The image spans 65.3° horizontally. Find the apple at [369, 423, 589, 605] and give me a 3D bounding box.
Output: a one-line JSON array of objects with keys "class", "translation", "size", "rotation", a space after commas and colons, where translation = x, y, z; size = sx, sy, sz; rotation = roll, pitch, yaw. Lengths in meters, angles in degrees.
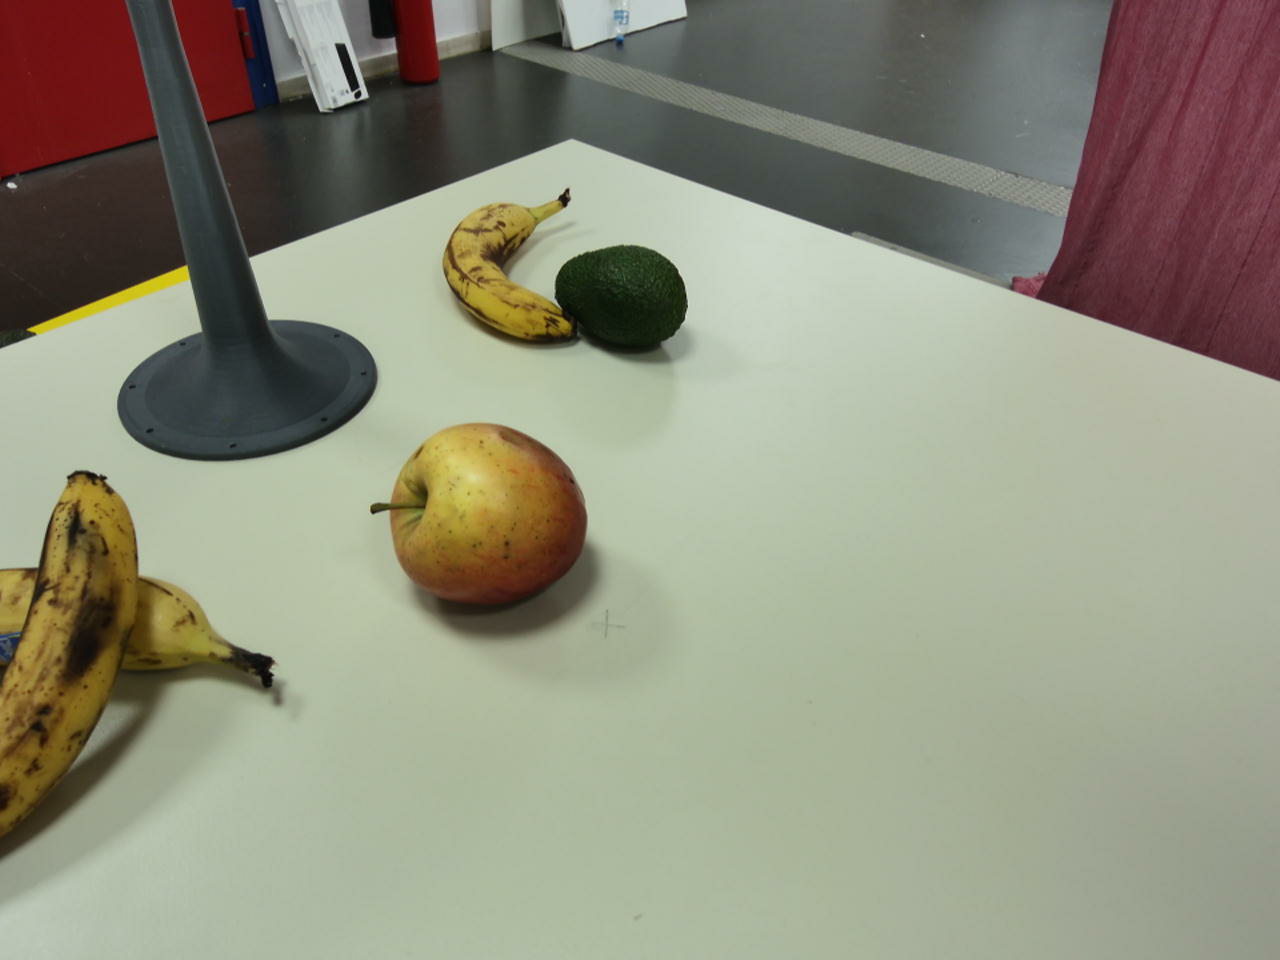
[{"class": "apple", "translation": [-0.072, 0.016, 0.468], "size": [0.093, 0.084, 0.086], "rotation": [4, 37, 3]}]
